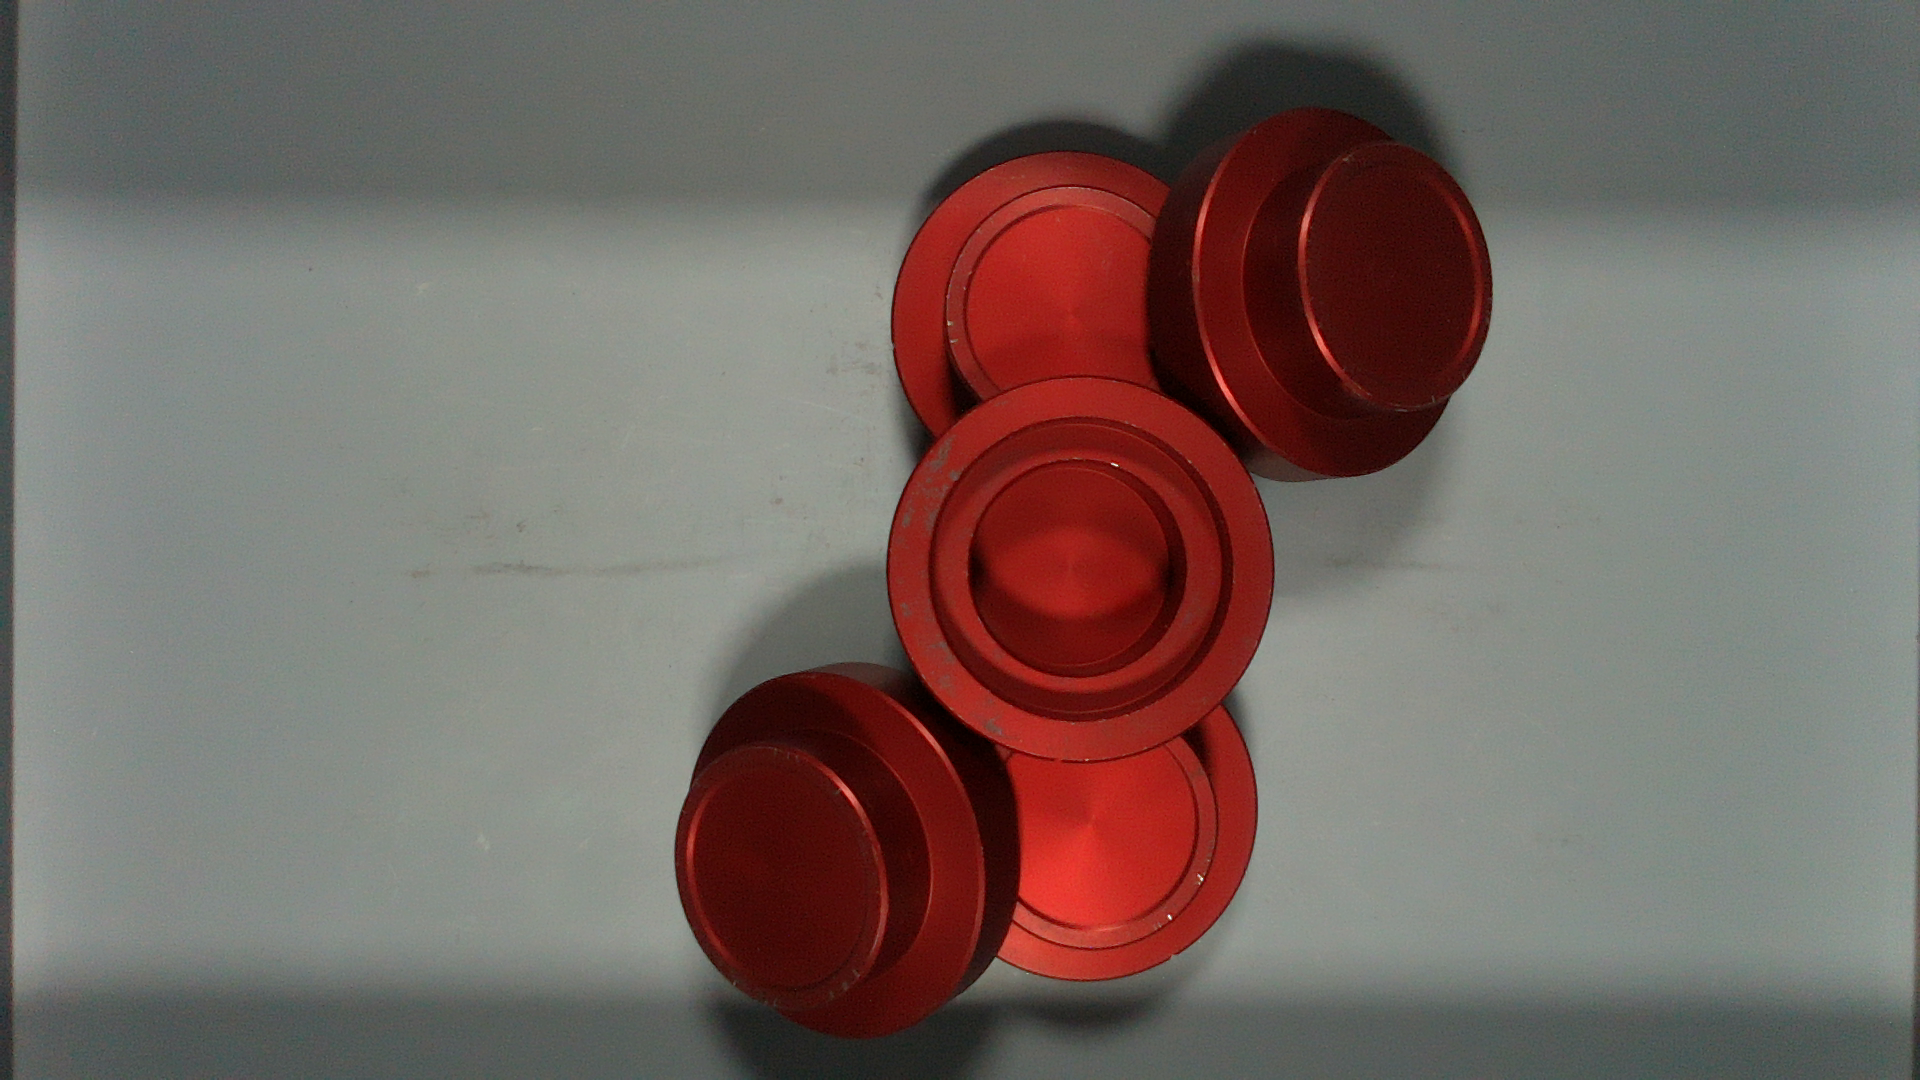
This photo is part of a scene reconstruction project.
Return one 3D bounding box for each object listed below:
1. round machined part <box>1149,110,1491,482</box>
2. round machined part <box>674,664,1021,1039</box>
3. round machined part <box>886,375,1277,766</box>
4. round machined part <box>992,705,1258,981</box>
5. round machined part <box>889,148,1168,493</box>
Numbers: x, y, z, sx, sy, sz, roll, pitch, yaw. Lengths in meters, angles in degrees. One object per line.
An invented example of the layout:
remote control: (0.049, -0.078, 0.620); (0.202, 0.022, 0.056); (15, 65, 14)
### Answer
round machined part: (0.101, -0.065, 0.364); (0.098, 0.042, 0.098); (2, 87, -30)
round machined part: (-0.036, 0.084, 0.365); (0.098, 0.042, 0.098); (2, 95, 30)
round machined part: (0.030, 0.008, 0.364); (0.098, 0.042, 0.098); (0, 90, 0)
round machined part: (0.035, 0.075, 0.386); (0.098, 0.042, 0.098); (0, 90, 0)
round machined part: (0.029, -0.061, 0.385); (0.098, 0.042, 0.098); (0, 90, 0)
